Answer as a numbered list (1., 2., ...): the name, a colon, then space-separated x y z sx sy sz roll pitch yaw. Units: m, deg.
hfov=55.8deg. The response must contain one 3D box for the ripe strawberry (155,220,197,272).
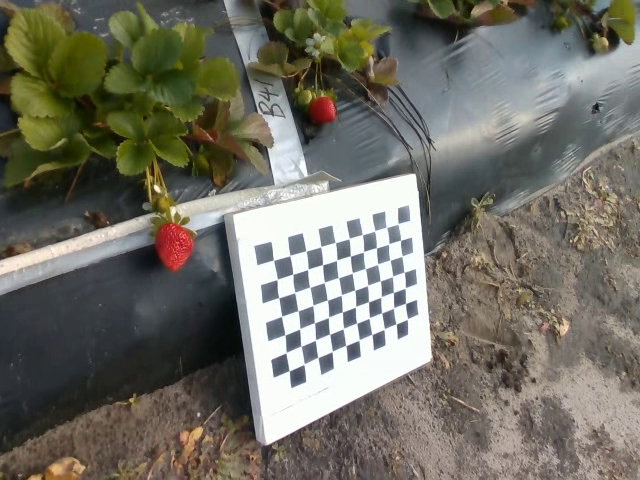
1. ripe strawberry: -0.138 0.009 0.545 0.030 0.053 0.047 -21 -40 38

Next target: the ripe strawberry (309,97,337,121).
1. ripe strawberry: 0.007 -0.155 0.696 0.037 0.031 0.048 1 41 -38
